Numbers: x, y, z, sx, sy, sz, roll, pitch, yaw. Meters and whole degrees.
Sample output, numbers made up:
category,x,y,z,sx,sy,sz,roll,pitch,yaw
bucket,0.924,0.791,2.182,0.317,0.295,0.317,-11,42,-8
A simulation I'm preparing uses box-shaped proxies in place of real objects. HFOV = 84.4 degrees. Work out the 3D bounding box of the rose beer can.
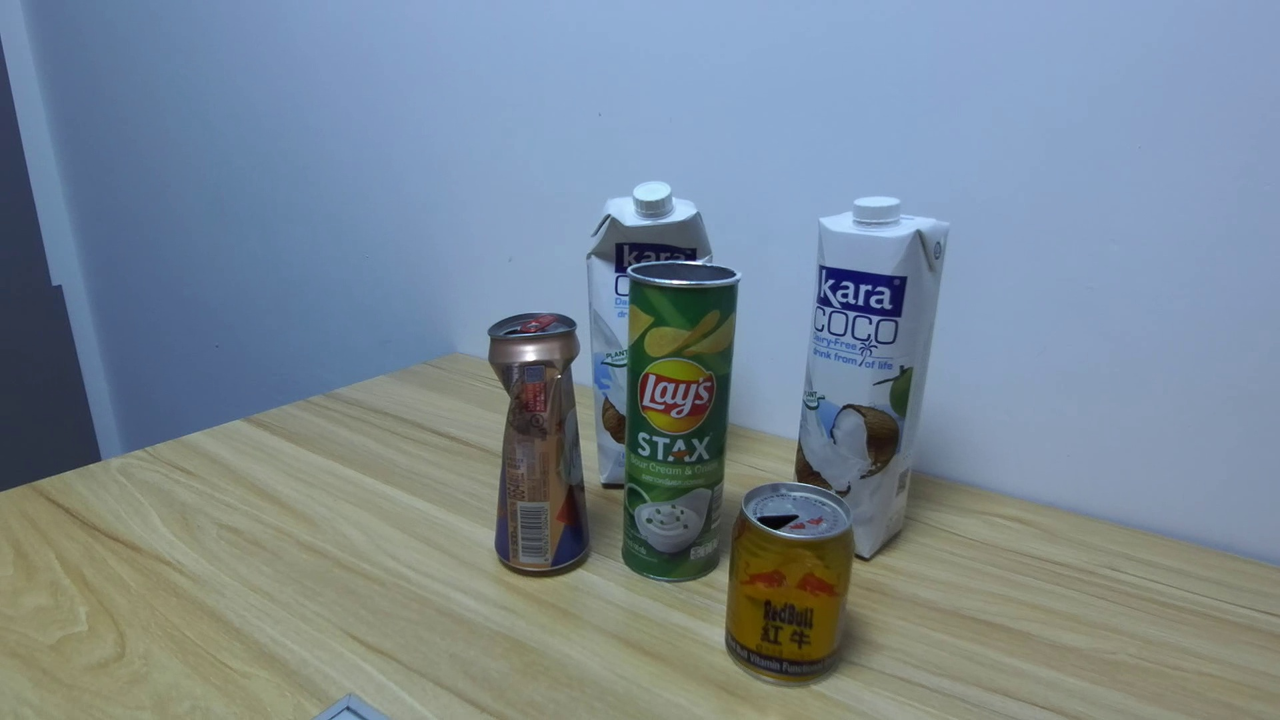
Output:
category,x,y,z,sx,sy,sz,roll,pitch,yaw
rose beer can,-0.068,0.057,0.472,0.065,0.167,0.076,3,18,14

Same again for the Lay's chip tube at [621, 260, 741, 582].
category,x,y,z,sx,sy,sz,roll,pitch,yaw
Lay's chip tube,0.025,0.040,0.462,0.071,0.202,0.071,1,19,0

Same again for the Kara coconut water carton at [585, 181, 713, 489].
category,x,y,z,sx,sy,sz,roll,pitch,yaw
Kara coconut water carton,0.010,-0.022,0.586,0.099,0.244,0.071,0,22,2

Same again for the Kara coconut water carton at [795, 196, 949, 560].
category,x,y,z,sx,sy,sz,roll,pitch,yaw
Kara coconut water carton,0.158,0.011,0.496,0.076,0.245,0.076,16,21,38
